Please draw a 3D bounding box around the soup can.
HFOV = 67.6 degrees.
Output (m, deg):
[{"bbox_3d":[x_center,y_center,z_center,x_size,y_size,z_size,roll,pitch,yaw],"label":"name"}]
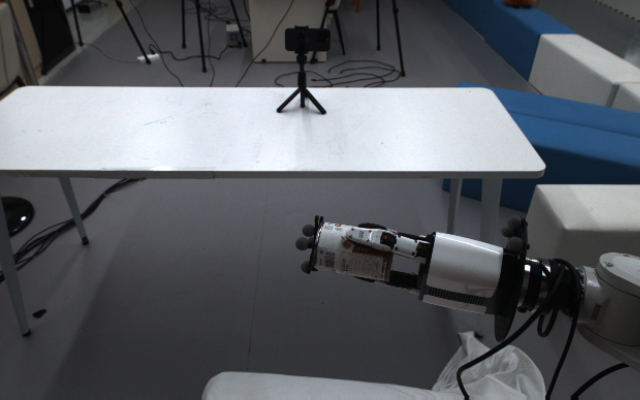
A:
[{"bbox_3d":[0.050,0.069,0.653,0.101,0.067,0.067,8,35,9],"label":"soup can"}]
